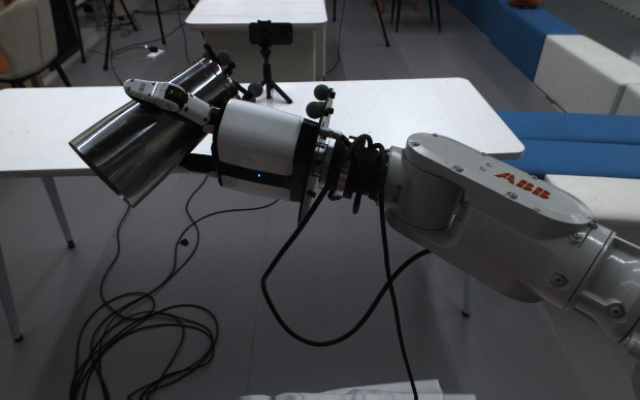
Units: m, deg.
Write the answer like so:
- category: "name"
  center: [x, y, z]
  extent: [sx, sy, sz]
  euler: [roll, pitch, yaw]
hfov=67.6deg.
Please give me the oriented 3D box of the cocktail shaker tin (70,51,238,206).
- category: "cocktail shaker tin"
  center: [-0.172, -0.085, 0.534]
  extent: [0.093, 0.093, 0.170]
  euler: [32, 66, 36]
